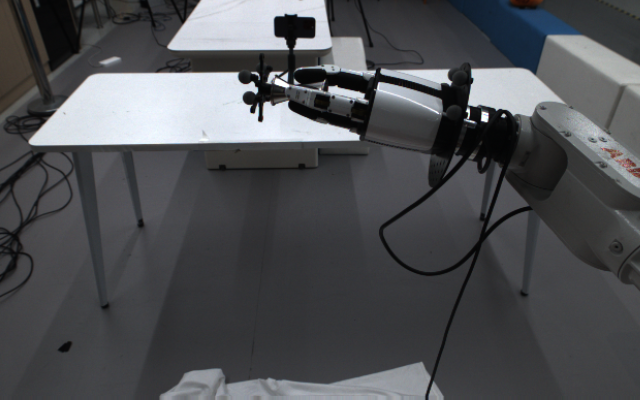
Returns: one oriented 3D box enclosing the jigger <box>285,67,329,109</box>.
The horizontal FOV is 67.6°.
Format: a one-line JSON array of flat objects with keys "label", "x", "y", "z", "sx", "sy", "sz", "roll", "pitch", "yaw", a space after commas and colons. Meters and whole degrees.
[{"label": "jigger", "x": -0.019, "y": -0.144, "z": 0.630, "sx": 0.071, "sy": 0.043, "sz": 0.043, "roll": 7, "pitch": 35, "yaw": 7}]
